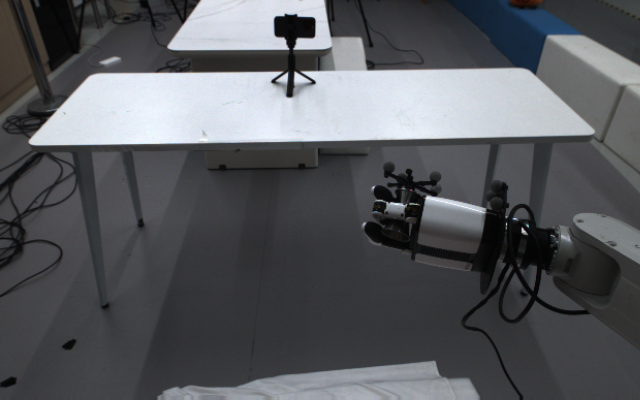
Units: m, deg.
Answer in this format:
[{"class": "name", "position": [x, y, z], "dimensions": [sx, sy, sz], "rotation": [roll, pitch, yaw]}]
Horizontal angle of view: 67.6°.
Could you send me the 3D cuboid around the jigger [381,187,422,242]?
[{"class": "jigger", "position": [0.123, 0.021, 0.709], "dimensions": [0.043, 0.043, 0.071], "rotation": [13, 69, 15]}]
